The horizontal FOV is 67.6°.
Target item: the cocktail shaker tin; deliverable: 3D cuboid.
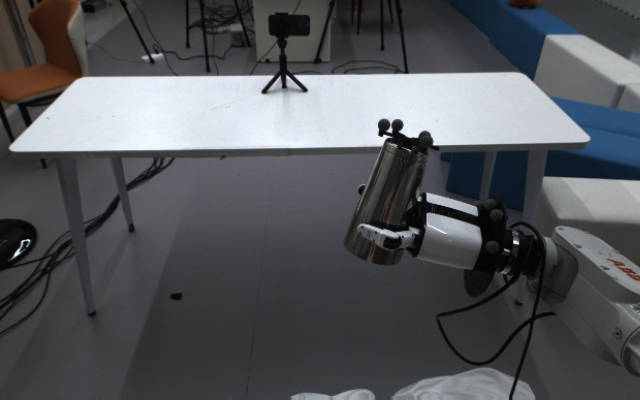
[{"bbox_3d":[0.102,-0.001,0.716,0.093,0.170,0.093,14,20,-5],"label":"cocktail shaker tin"}]
